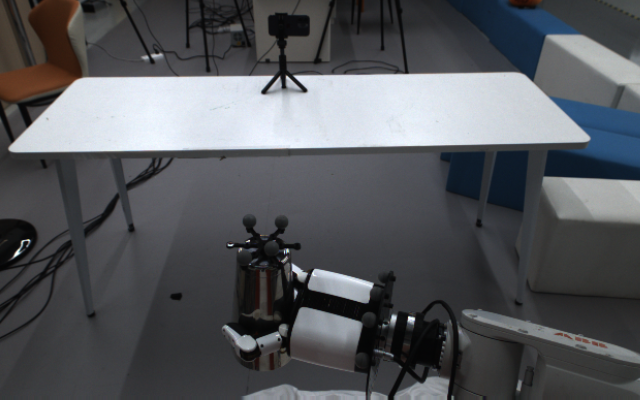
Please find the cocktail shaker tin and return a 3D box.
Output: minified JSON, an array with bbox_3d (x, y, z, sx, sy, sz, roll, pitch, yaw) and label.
[{"bbox_3d":[-0.071,0.131,0.633,0.093,0.170,0.093,3,34,-2],"label":"cocktail shaker tin"}]
